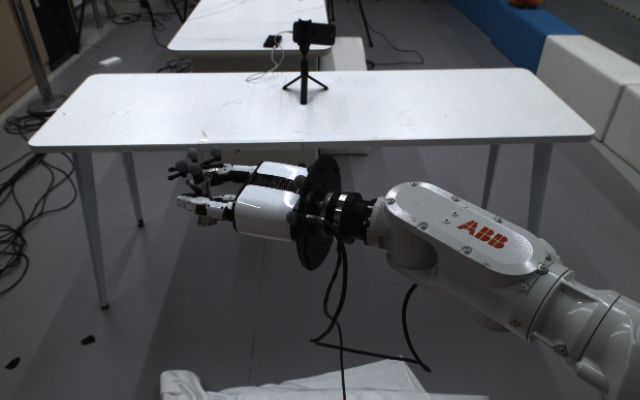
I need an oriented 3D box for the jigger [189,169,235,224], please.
[{"bbox_3d":[-0.168,-0.002,0.720,0.043,0.071,0.043,-10,24,4],"label":"jigger"}]
